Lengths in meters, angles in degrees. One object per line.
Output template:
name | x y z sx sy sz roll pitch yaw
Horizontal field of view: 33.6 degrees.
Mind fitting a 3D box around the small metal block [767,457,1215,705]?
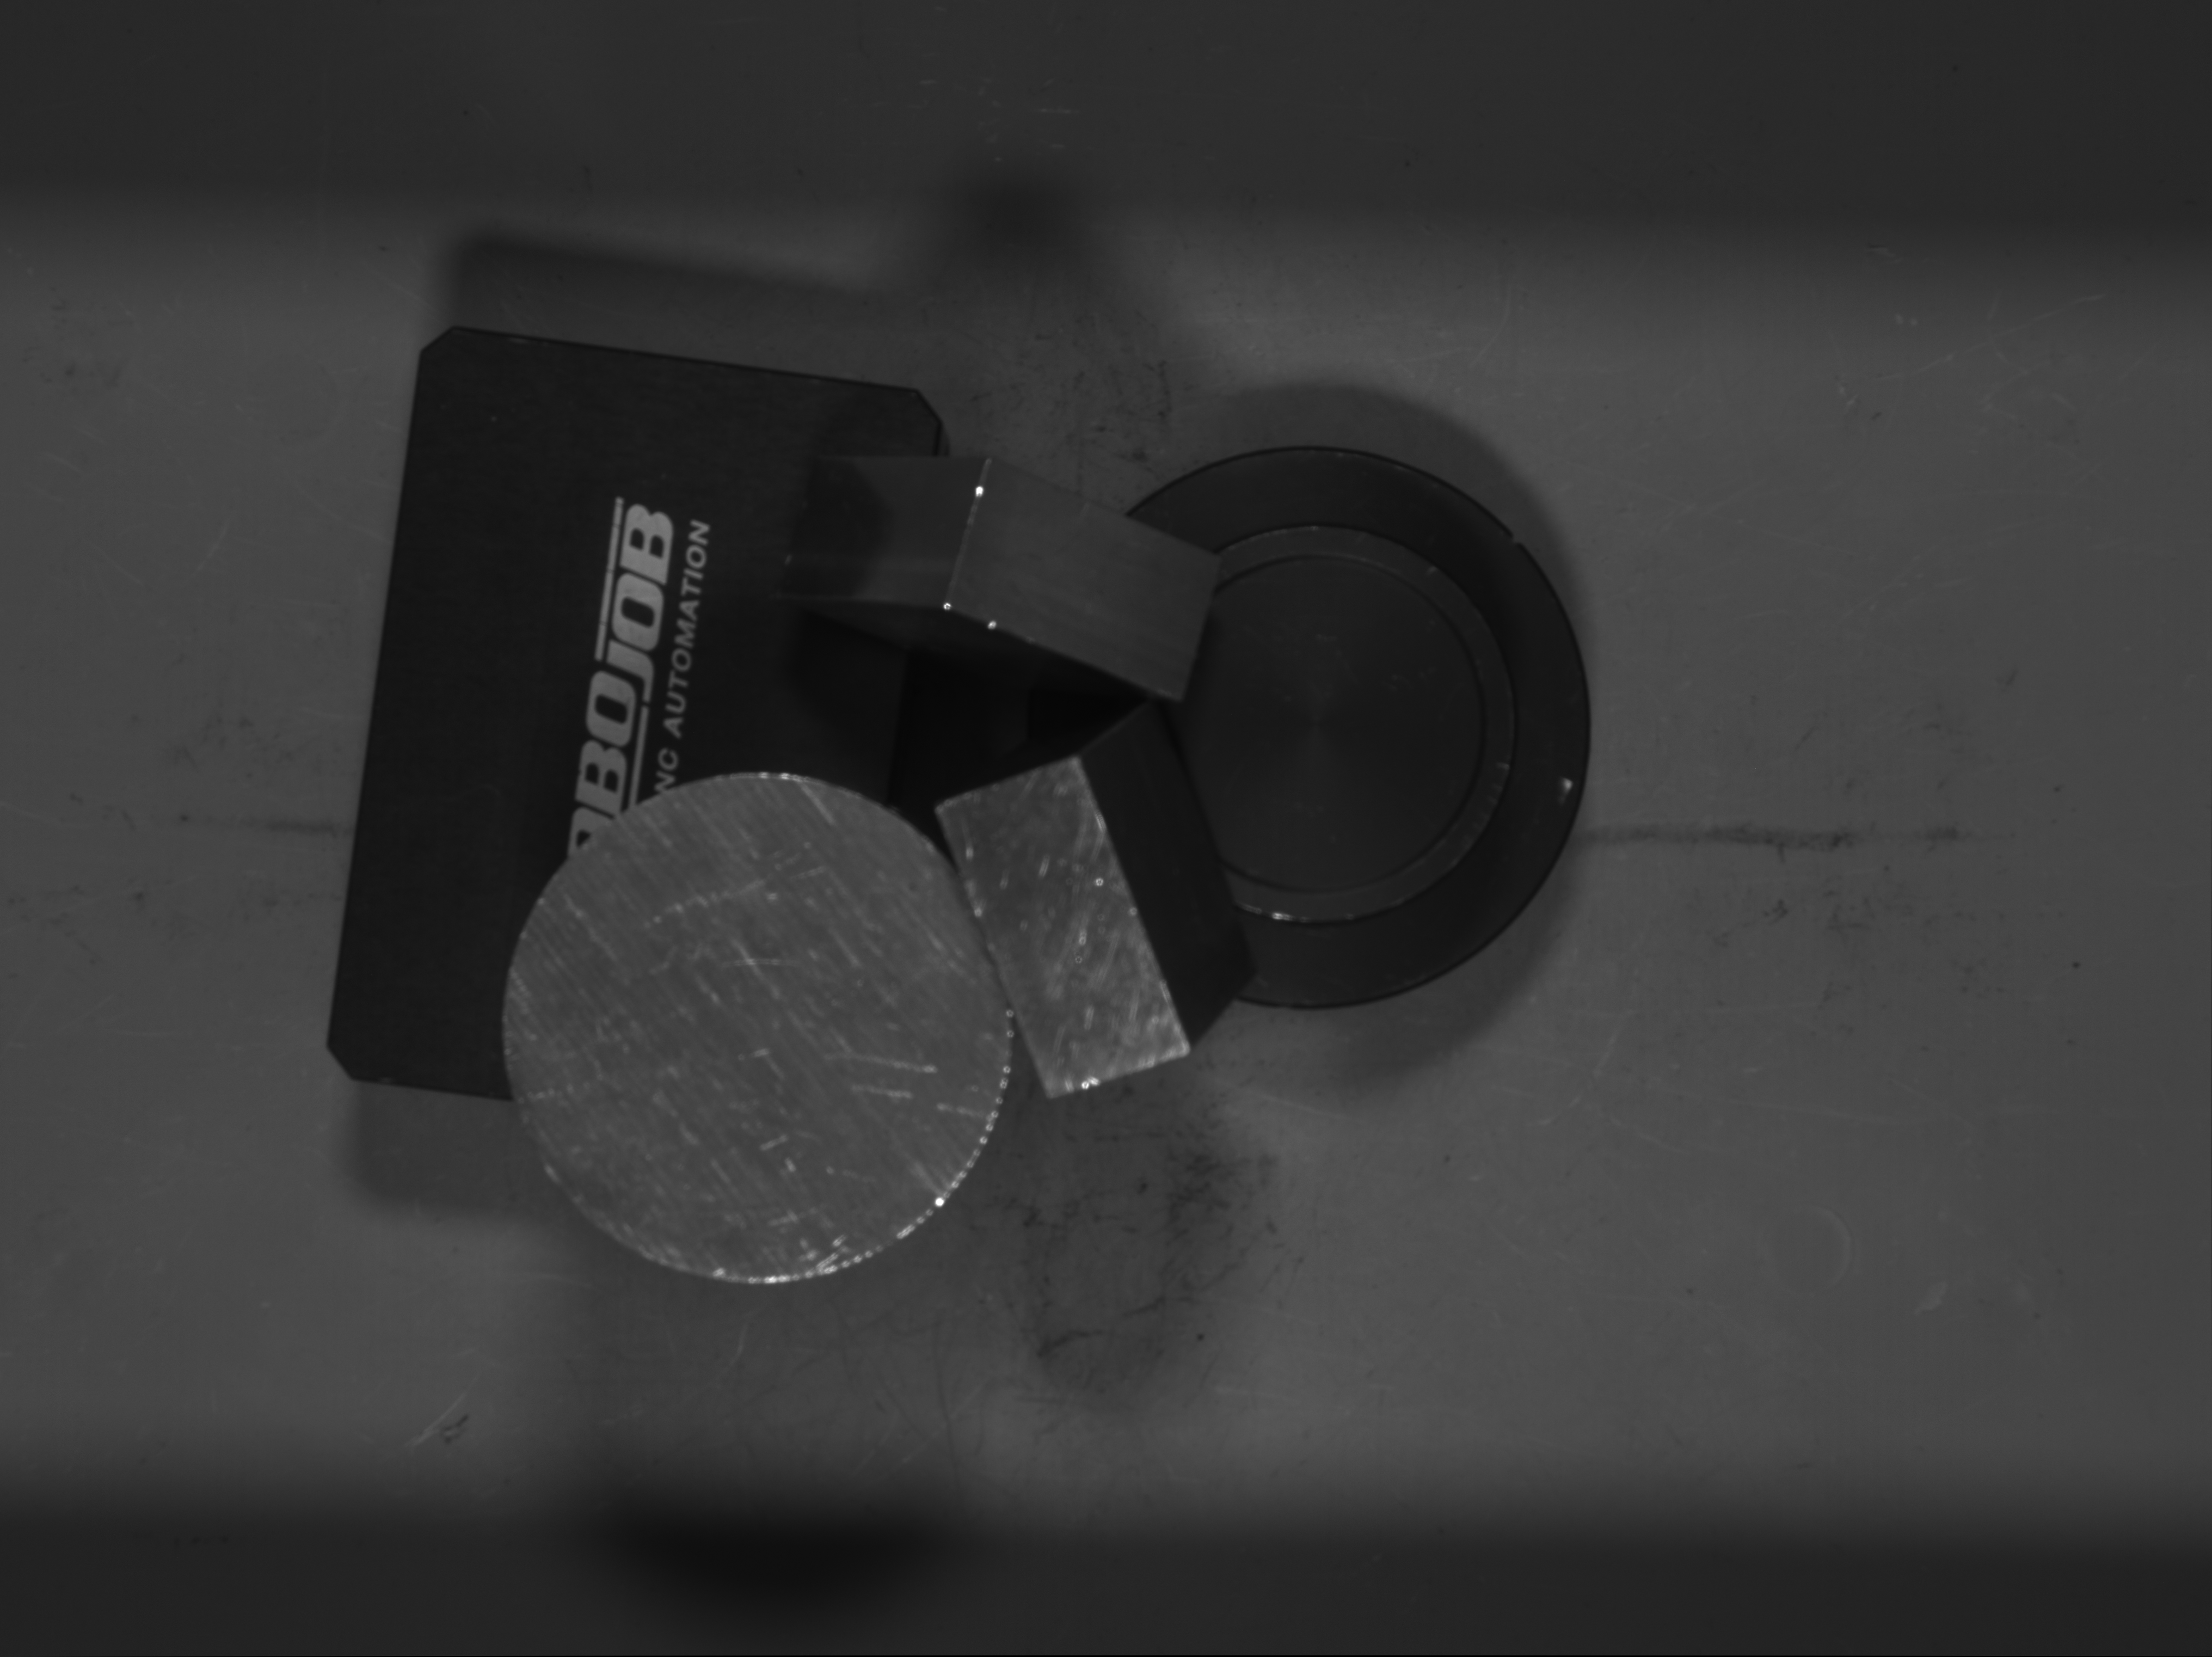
small metal block | -0.019 -0.041 0.606 0.050 0.050 0.025 20 83 -37

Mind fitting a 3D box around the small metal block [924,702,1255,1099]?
small metal block | -0.002 0.010 0.592 0.025 0.050 0.050 -19 97 18

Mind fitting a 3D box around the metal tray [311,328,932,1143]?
metal tray | -0.083 -0.015 0.639 0.090 0.030 0.130 8 90 0

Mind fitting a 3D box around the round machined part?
round machined part | 0.034 -0.017 0.635 0.098 0.042 0.098 0 90 0

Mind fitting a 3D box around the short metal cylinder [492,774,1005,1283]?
short metal cylinder | -0.057 0.031 0.601 0.080 0.050 0.080 0 90 0
